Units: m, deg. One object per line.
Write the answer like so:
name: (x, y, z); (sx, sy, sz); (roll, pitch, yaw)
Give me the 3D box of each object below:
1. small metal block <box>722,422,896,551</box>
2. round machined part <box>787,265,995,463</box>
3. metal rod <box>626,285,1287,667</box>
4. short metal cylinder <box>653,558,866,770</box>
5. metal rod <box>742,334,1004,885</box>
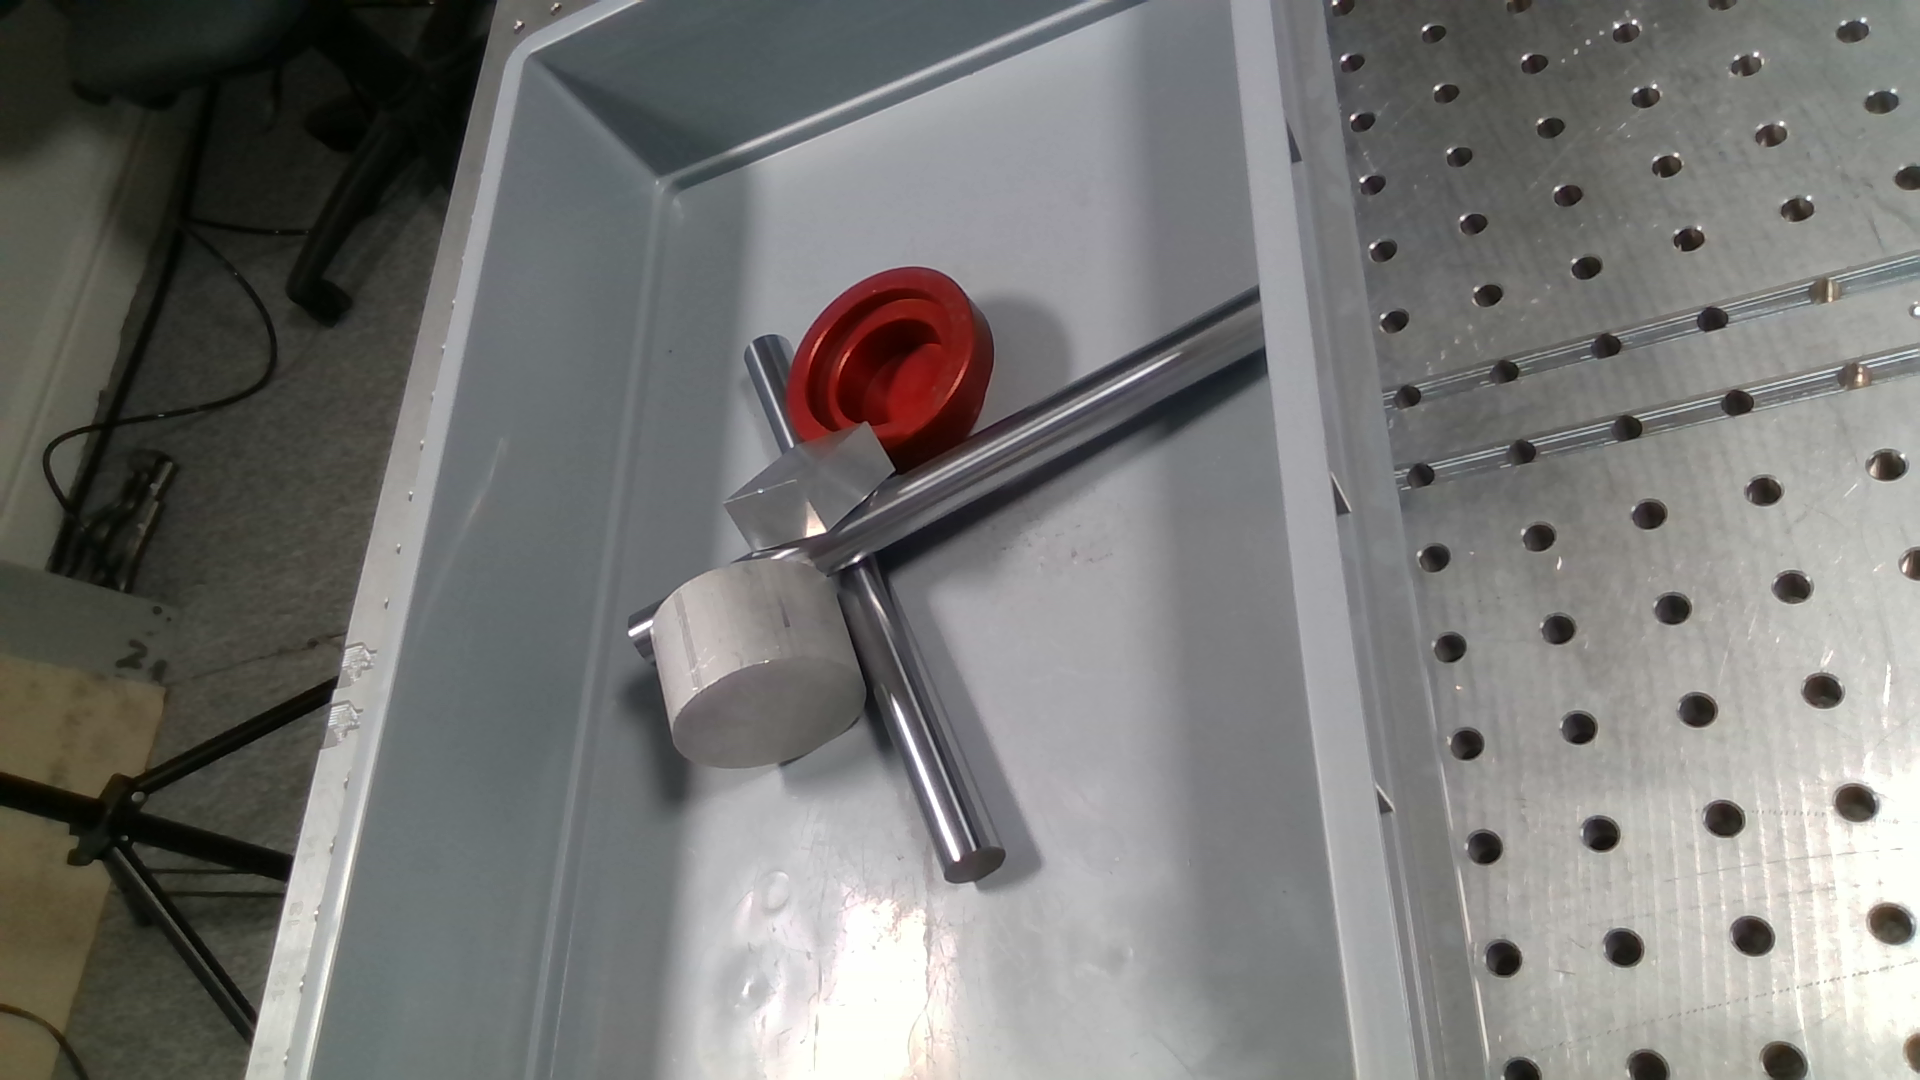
small metal block: (-0.063, -0.022, 0.582); (0.050, 0.025, 0.050); (-13, 24, 44)
round machined part: (-0.027, -0.073, 0.629); (0.098, 0.042, 0.098); (-14, 59, 25)
metal rod: (-0.006, -0.024, 0.577); (0.300, 0.025, 0.025); (-27, 54, 8)
short metal cylinder: (-0.084, 0.053, 0.573); (0.080, 0.080, 0.050); (-32, 53, 14)
metal rod: (-0.047, 0.014, 0.606); (0.025, 0.025, 0.299); (-34, 52, 12)
